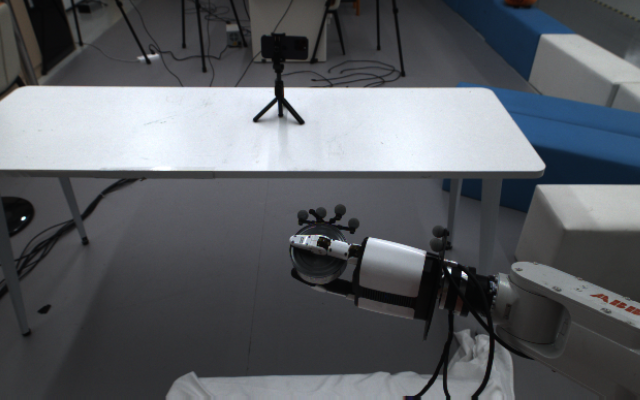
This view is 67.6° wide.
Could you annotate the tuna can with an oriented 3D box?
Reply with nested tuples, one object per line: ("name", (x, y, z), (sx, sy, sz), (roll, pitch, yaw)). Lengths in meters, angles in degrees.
("tuna can", (0.000, 0.077, 0.709), (0.085, 0.034, 0.085), (-2, 58, 3))
